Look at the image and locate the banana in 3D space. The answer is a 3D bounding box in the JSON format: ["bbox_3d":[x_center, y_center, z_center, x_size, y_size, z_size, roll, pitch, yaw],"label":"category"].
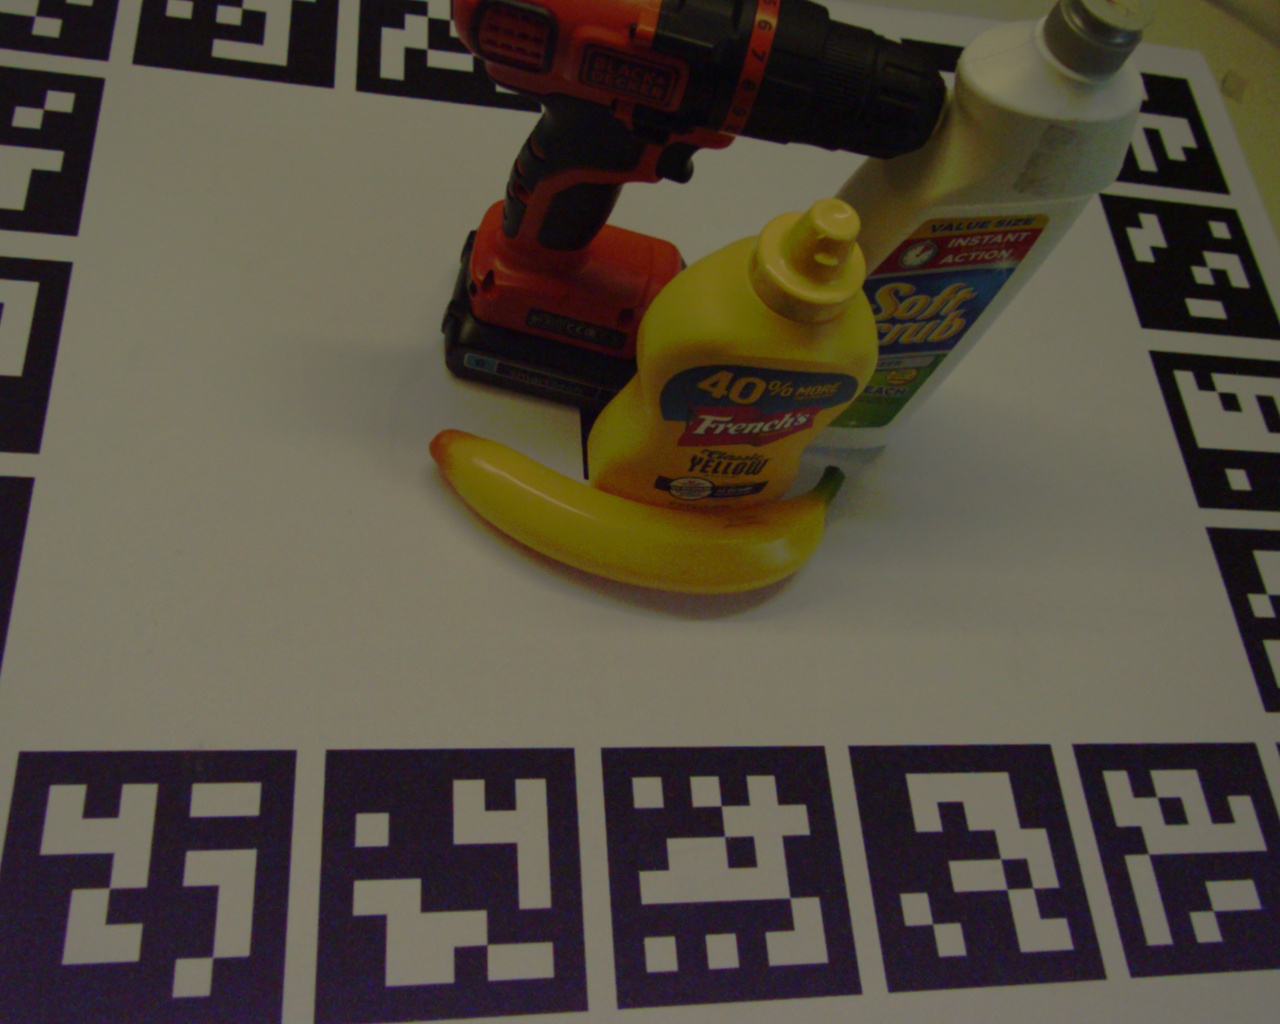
[{"bbox_3d":[0.005,0.004,0.555,0.196,0.039,0.074,6,65,-9],"label":"banana"}]

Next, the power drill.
[{"bbox_3d":[0.004,-0.132,0.499,0.183,0.188,0.057,14,62,-10],"label":"power drill"}]

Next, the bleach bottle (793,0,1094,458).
[{"bbox_3d":[0.113,-0.118,0.515,0.102,0.251,0.068,5,59,-13],"label":"bleach bottle"}]

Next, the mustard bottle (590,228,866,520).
[{"bbox_3d":[0.043,-0.058,0.496,0.095,0.192,0.058,3,65,-15],"label":"mustard bottle"}]
